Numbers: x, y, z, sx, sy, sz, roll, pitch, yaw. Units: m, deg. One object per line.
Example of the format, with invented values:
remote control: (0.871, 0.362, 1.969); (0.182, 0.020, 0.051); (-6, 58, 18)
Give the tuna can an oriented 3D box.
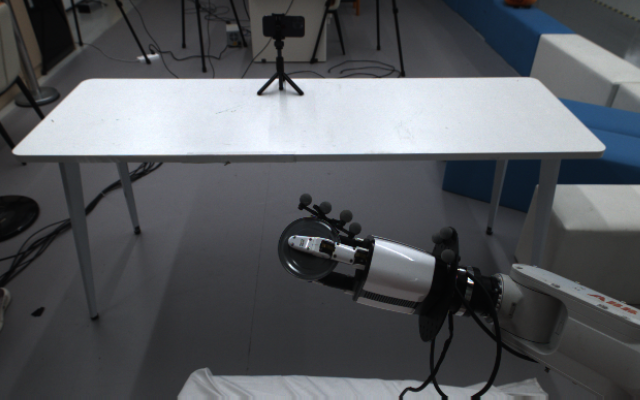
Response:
tuna can: (-0.013, 0.068, 0.661); (0.085, 0.034, 0.085); (1, 75, -4)
